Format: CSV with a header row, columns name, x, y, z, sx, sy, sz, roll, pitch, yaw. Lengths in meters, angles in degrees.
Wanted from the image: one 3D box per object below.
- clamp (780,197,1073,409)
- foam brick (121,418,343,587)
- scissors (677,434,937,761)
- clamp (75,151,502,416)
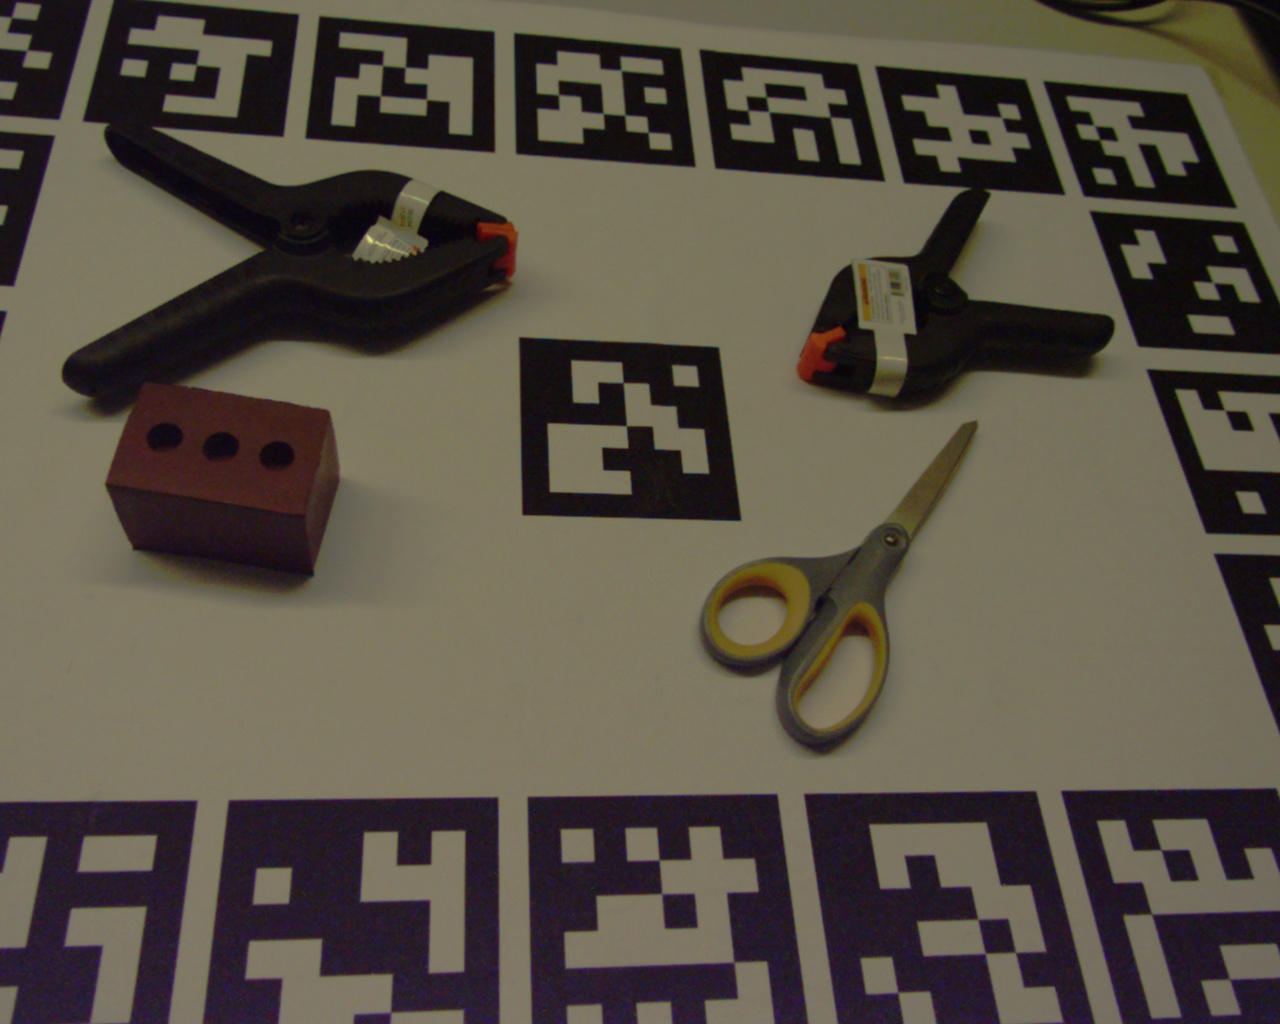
name,x,y,z,sx,sy,sz,roll,pitch,yaw
clamp,0.148,-0.104,0.632,0.164,0.037,0.122,-25,75,-21
foam brick,-0.179,-0.003,0.509,0.078,0.051,0.053,6,62,-1
scissors,0.096,0.024,0.554,0.088,0.016,0.201,39,60,4
clamp,-0.172,-0.120,0.582,0.201,0.036,0.166,-2,58,-12
